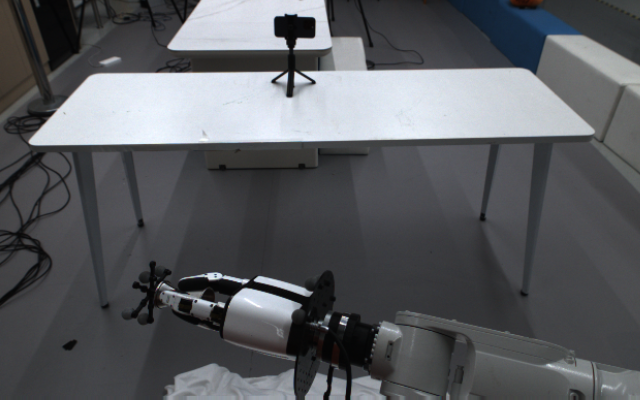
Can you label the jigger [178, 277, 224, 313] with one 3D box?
[{"bbox_3d":[-0.177,0.130,0.651,0.071,0.043,0.043,7,35,15],"label":"jigger"}]
